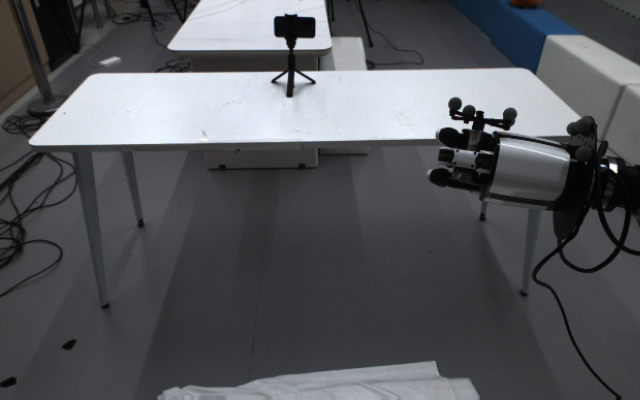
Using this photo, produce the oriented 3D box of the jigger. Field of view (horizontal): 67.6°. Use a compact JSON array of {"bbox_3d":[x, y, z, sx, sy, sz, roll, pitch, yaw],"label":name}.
[{"bbox_3d":[0.204,-0.057,0.651,0.043,0.071,0.043,14,1,0],"label":"jigger"}]
